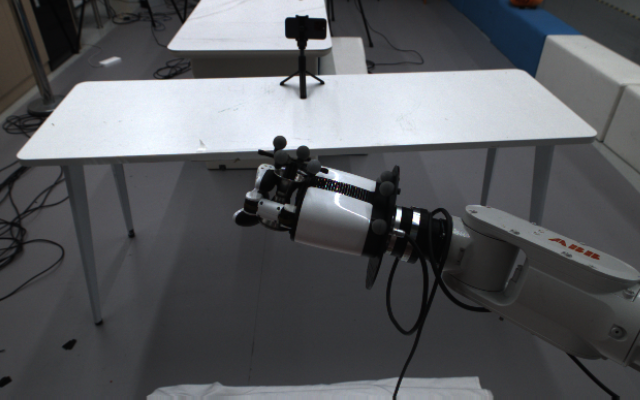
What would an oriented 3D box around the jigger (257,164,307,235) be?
[{"bbox_3d":[-0.047,0.000,0.607,0.043,0.071,0.043,18,17,-6],"label":"jigger"}]
